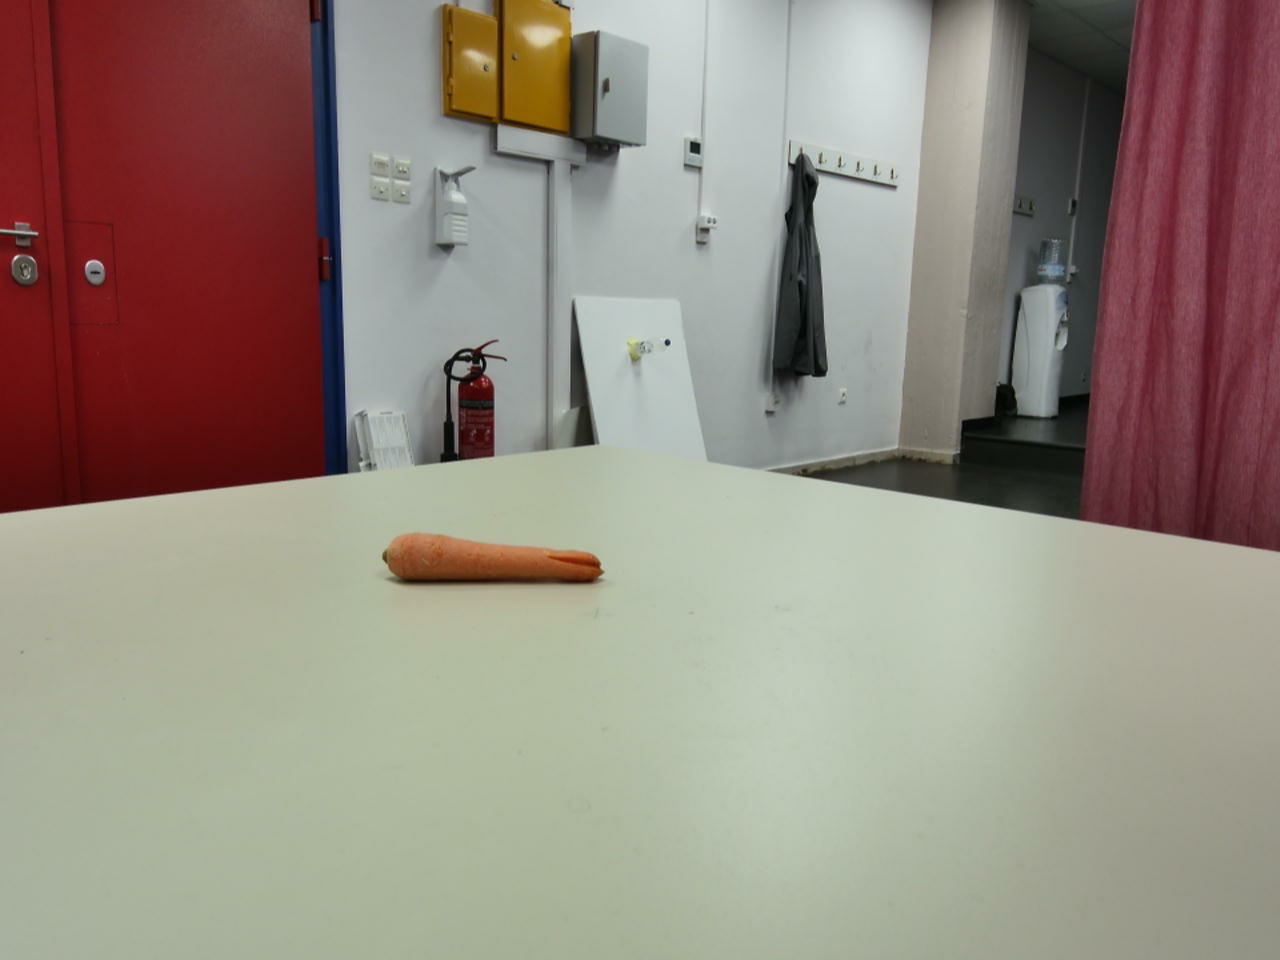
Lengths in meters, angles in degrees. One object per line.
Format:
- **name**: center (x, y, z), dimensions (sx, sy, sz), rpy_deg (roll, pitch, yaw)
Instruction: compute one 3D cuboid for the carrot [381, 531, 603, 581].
- **carrot**: center (-0.091, 0.048, 0.623), dimensions (0.136, 0.032, 0.030), rpy_deg (0, 8, -2)
